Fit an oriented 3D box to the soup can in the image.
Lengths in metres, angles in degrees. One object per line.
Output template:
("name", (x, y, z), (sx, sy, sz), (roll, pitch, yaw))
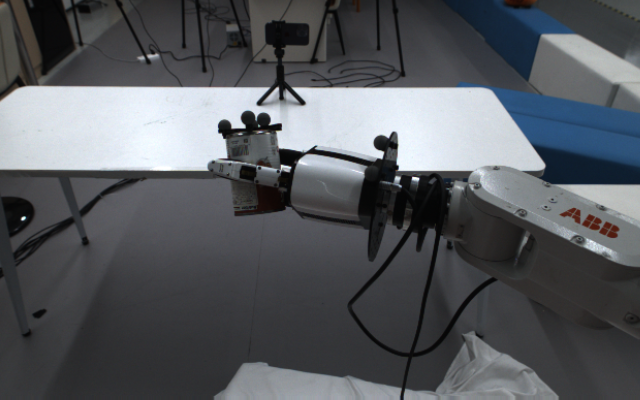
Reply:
("soup can", (-0.081, -0.033, 0.620), (0.067, 0.101, 0.067), (-7, 3, 0))
